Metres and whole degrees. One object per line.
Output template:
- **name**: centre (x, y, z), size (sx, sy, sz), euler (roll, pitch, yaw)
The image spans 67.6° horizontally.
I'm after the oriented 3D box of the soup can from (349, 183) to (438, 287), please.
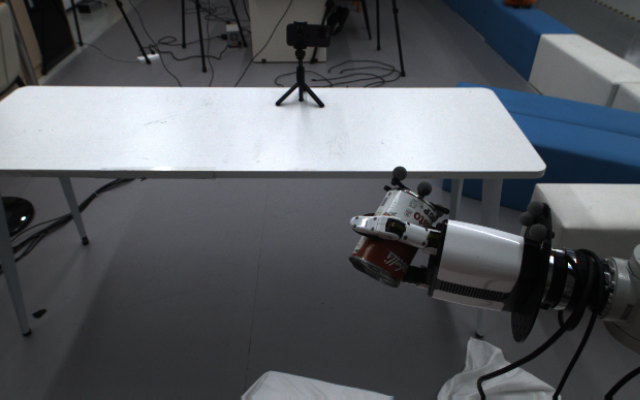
- **soup can**: centre (0.090, 0.044, 0.581), size (0.067, 0.067, 0.101), euler (24, 73, 28)
